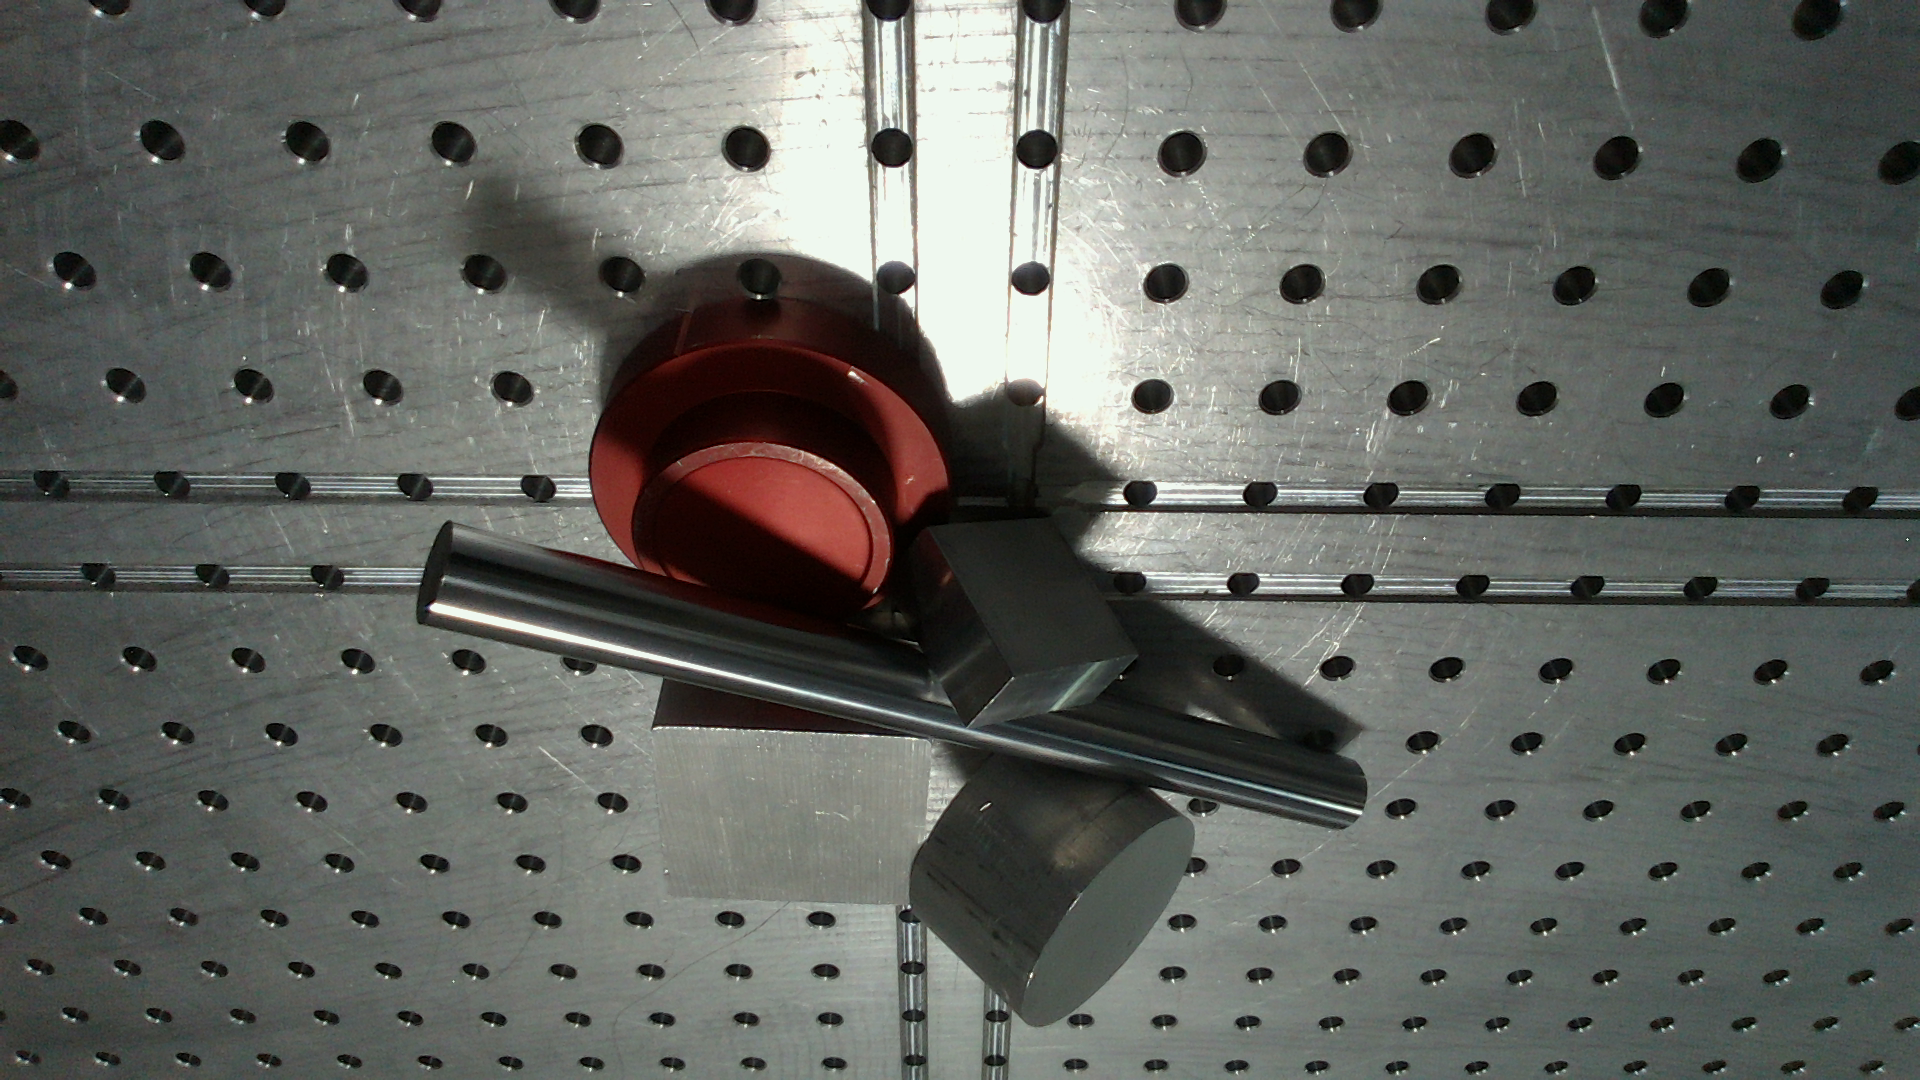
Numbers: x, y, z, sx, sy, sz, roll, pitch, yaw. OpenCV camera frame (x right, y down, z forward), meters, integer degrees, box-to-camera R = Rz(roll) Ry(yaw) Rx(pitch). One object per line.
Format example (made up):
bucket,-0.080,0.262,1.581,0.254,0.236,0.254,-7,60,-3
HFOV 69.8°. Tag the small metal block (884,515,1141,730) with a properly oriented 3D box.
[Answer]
small metal block,0.014,0.021,0.383,0.050,0.050,0.025,-5,145,-43

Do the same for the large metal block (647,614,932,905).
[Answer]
large metal block,-0.051,0.068,0.431,0.080,0.050,0.080,3,130,-3

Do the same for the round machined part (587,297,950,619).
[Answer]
round machined part,-0.051,-0.013,0.372,0.098,0.042,0.098,0,130,0

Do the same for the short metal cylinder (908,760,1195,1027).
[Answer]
short metal cylinder,0.030,0.106,0.439,0.080,0.050,0.080,-35,145,-30

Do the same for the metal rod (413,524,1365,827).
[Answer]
metal rod,0.003,0.047,0.391,0.301,0.025,0.025,17,129,-30
